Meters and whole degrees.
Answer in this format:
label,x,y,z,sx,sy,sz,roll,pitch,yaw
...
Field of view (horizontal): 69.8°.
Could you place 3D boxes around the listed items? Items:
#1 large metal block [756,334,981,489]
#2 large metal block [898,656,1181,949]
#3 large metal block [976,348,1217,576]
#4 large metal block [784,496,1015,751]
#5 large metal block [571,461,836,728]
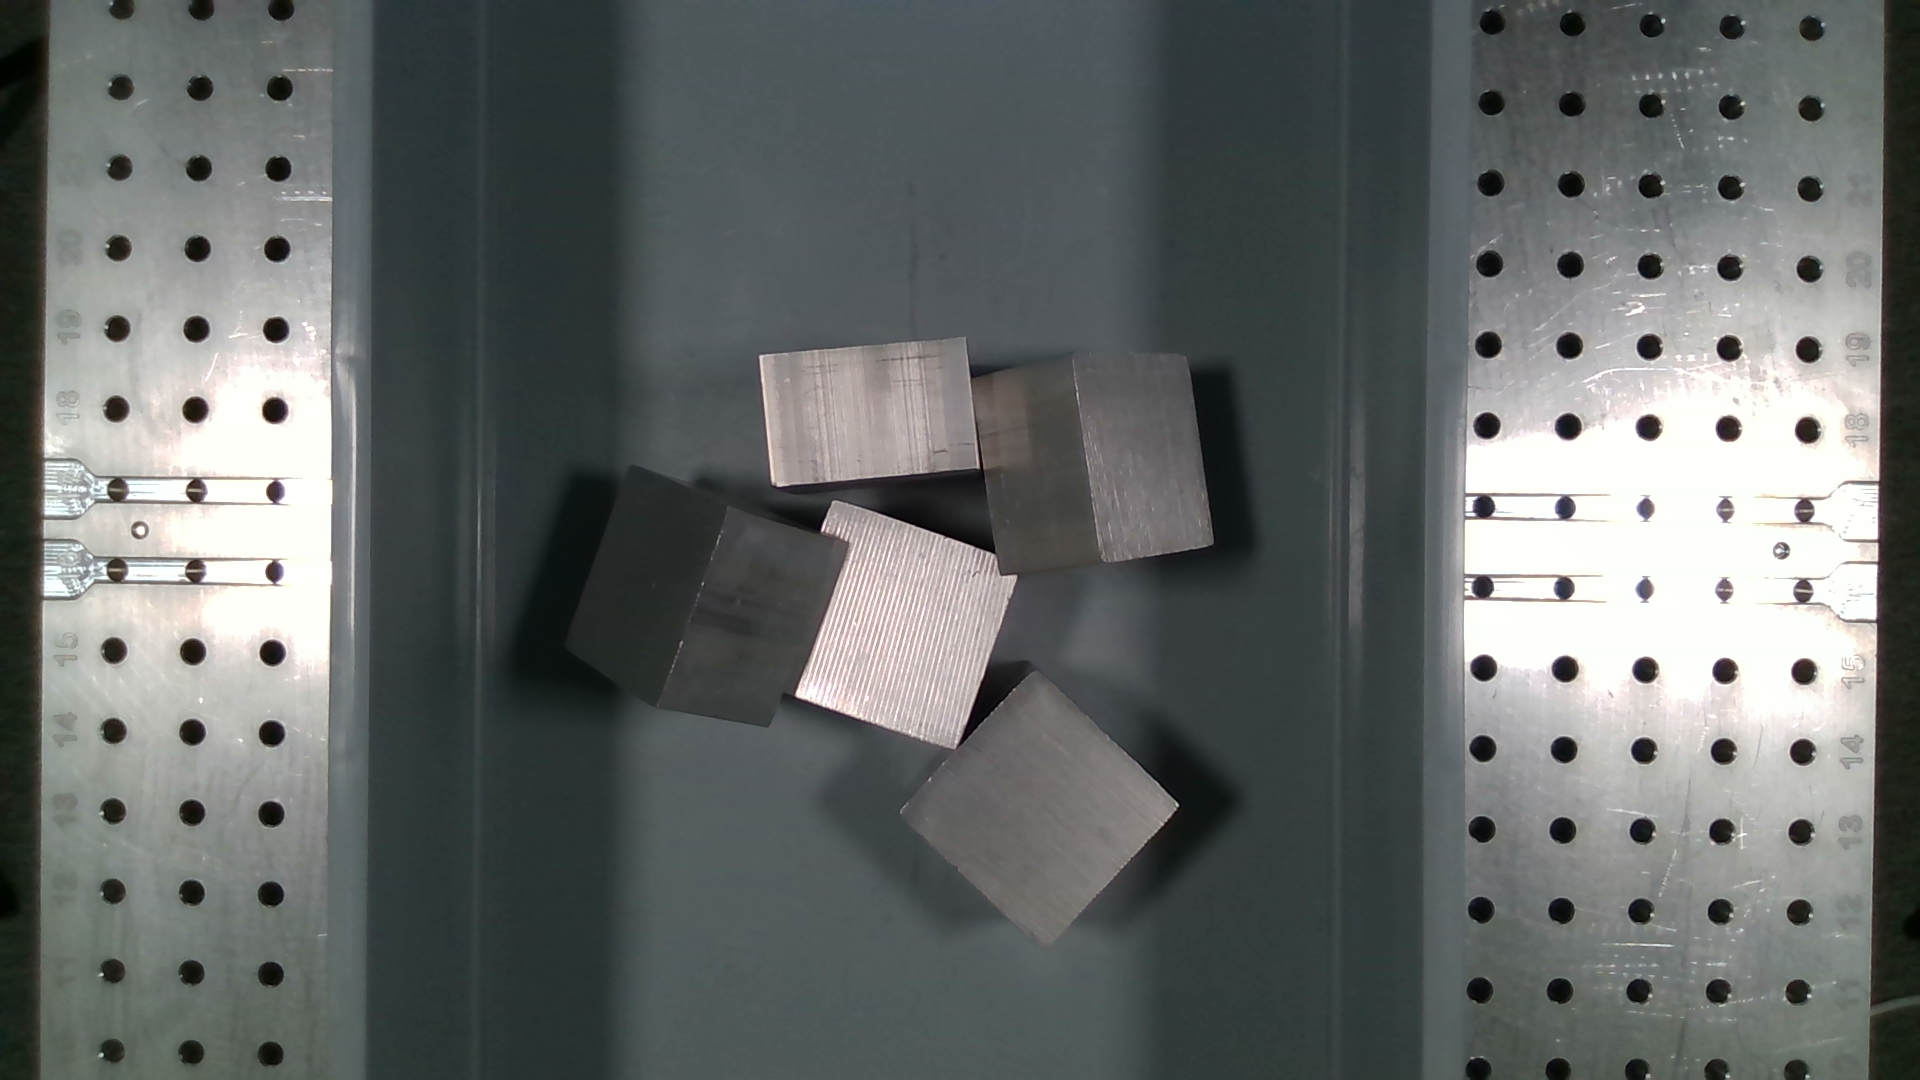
label,x,y,z,sx,sy,sz,roll,pitch,yaw
large metal block,-0.034,-0.049,0.558,0.080,0.080,0.050,-6,90,0
large metal block,0.032,0.107,0.574,0.080,0.050,0.080,44,90,0
large metal block,0.055,-0.031,0.552,0.050,0.080,0.080,-8,89,42
large metal block,-0.026,0.033,0.575,0.080,0.050,0.080,19,90,0
large metal block,-0.105,0.021,0.552,0.050,0.080,0.080,18,92,-42
